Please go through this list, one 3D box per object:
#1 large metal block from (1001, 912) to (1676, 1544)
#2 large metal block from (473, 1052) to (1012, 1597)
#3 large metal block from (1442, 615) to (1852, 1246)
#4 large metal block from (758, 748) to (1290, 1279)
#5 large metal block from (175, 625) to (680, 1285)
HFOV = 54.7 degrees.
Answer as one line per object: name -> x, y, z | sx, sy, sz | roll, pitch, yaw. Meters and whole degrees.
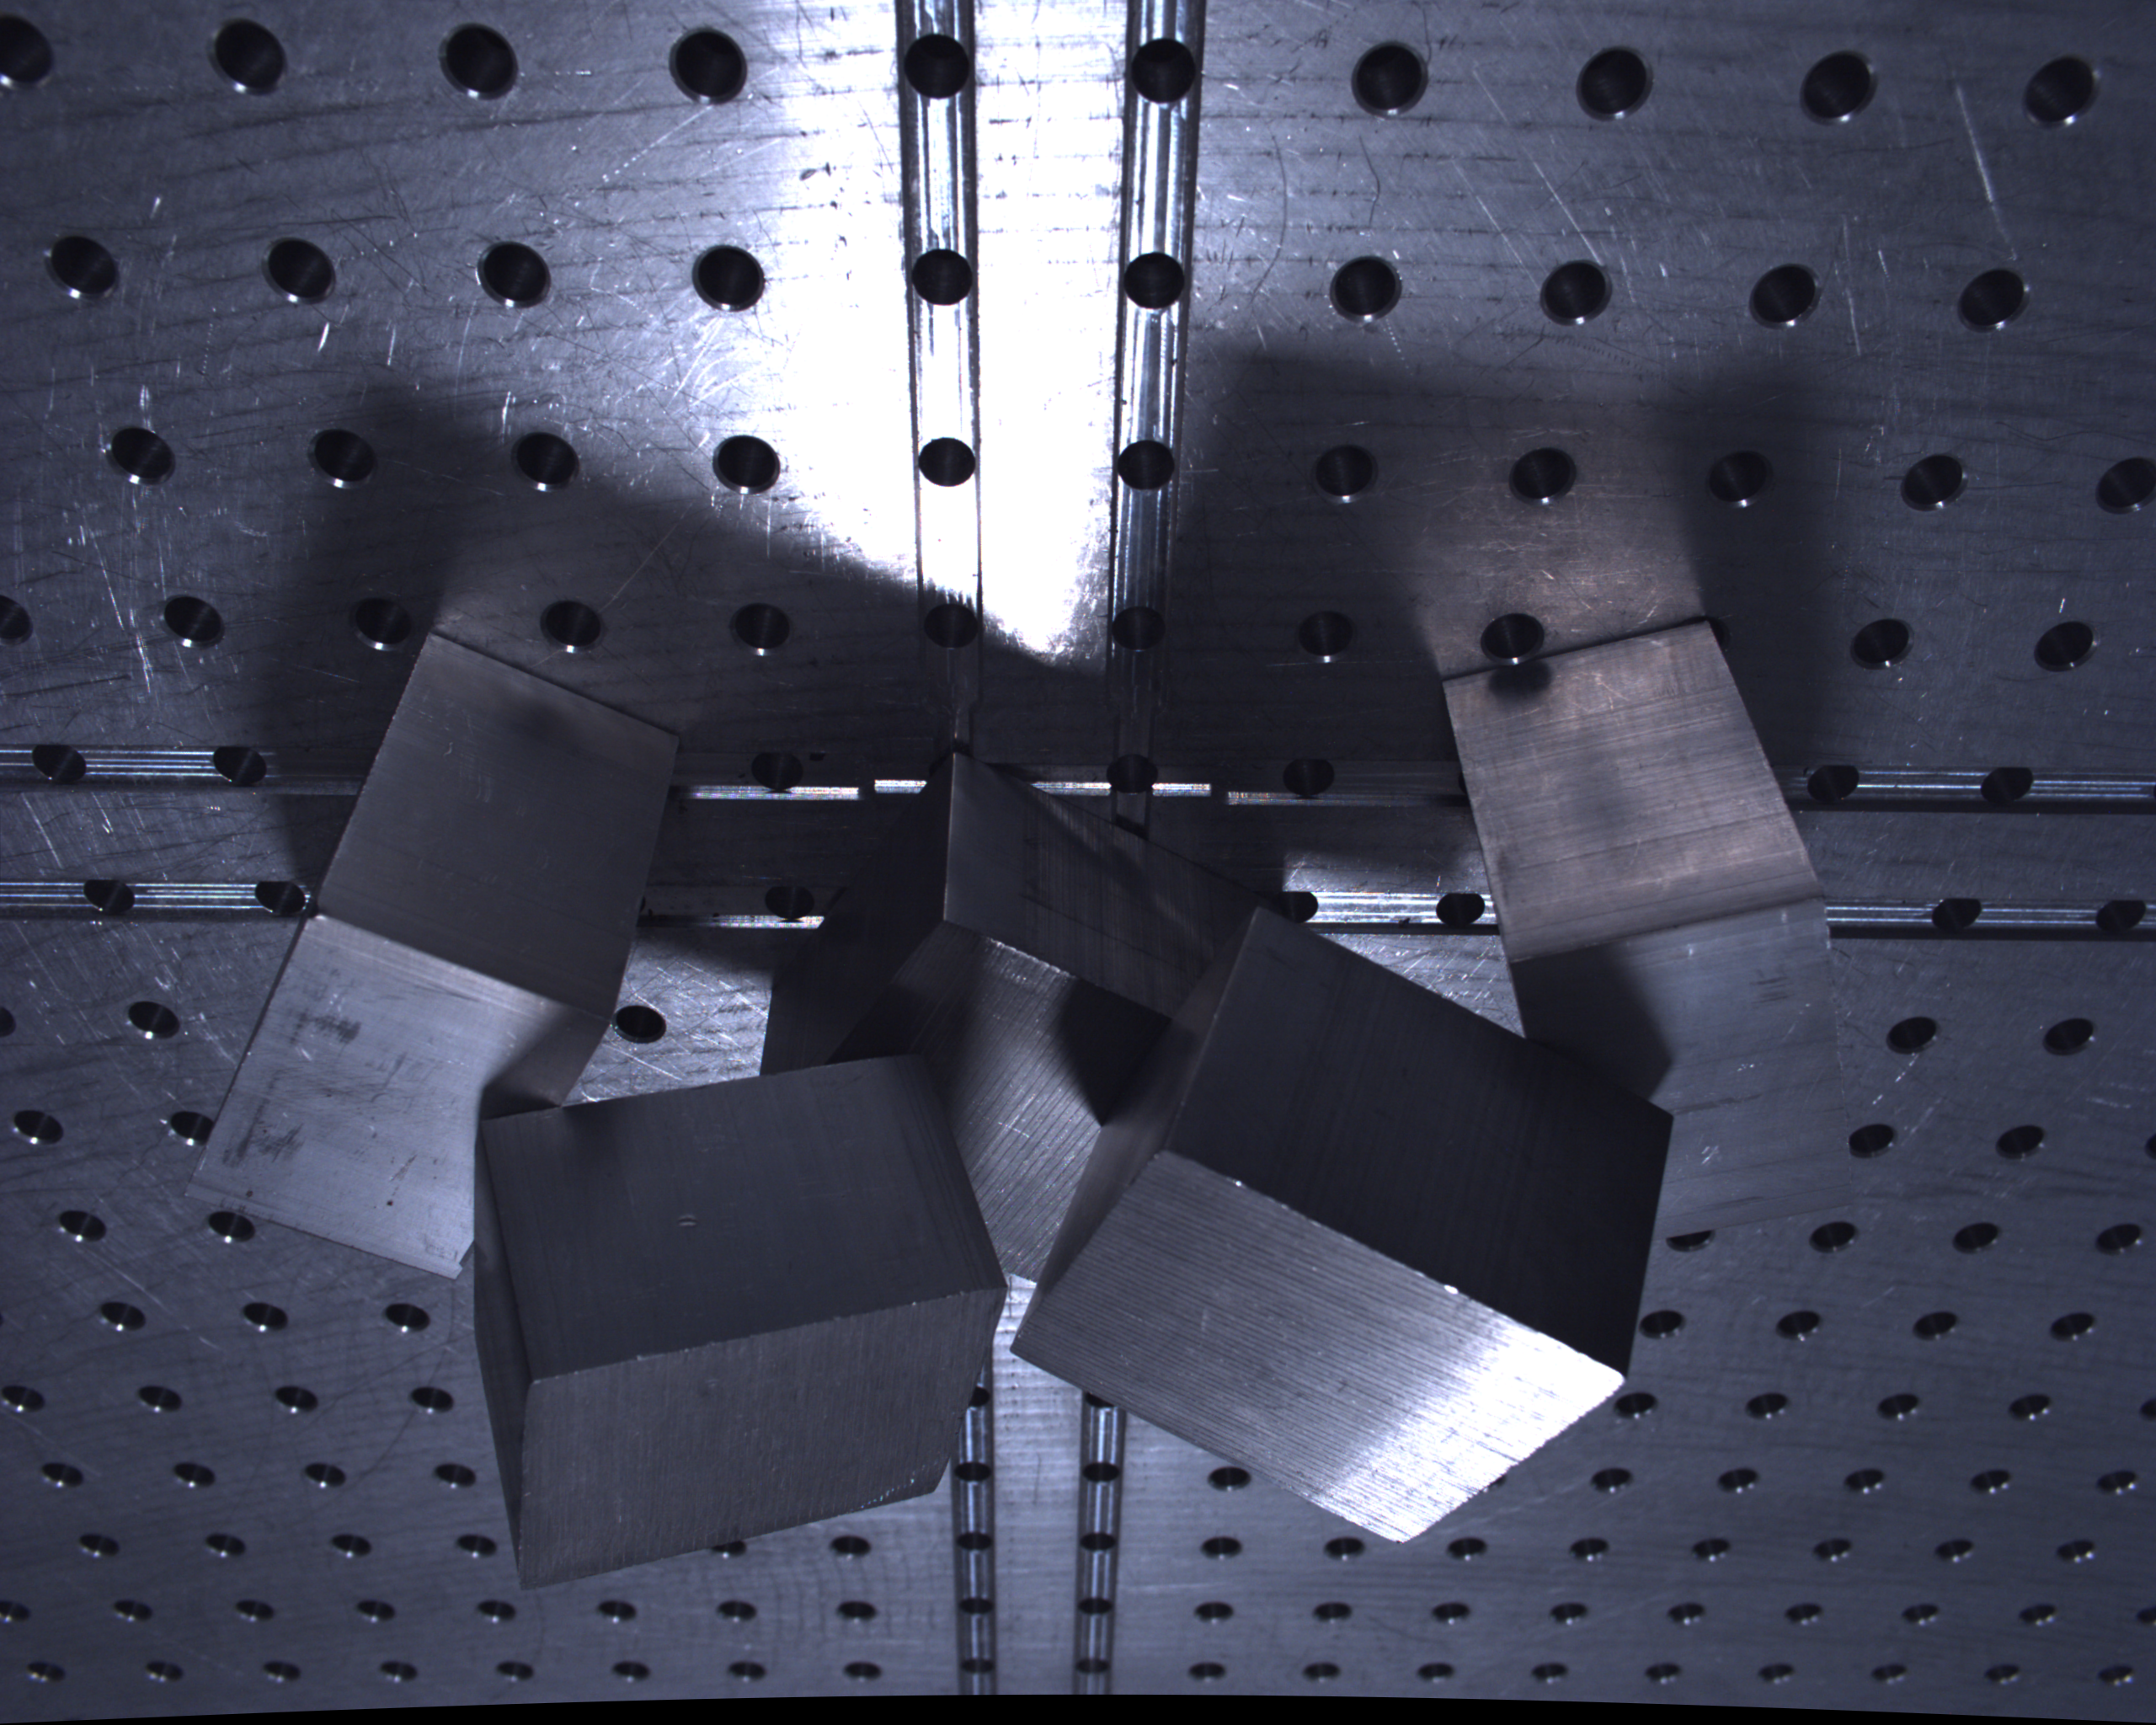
large metal block -> 0.043, 0.066, 0.361 | 0.080, 0.050, 0.080 | 27, 140, -3
large metal block -> -0.065, 0.084, 0.380 | 0.081, 0.050, 0.079 | -7, 141, -22
large metal block -> 0.105, 0.014, 0.389 | 0.050, 0.080, 0.080 | -13, 129, 10
large metal block -> -0.011, 0.035, 0.424 | 0.080, 0.050, 0.080 | 26, 125, -21
large metal block -> -0.119, 0.017, 0.388 | 0.050, 0.080, 0.080 | 24, 126, -19
